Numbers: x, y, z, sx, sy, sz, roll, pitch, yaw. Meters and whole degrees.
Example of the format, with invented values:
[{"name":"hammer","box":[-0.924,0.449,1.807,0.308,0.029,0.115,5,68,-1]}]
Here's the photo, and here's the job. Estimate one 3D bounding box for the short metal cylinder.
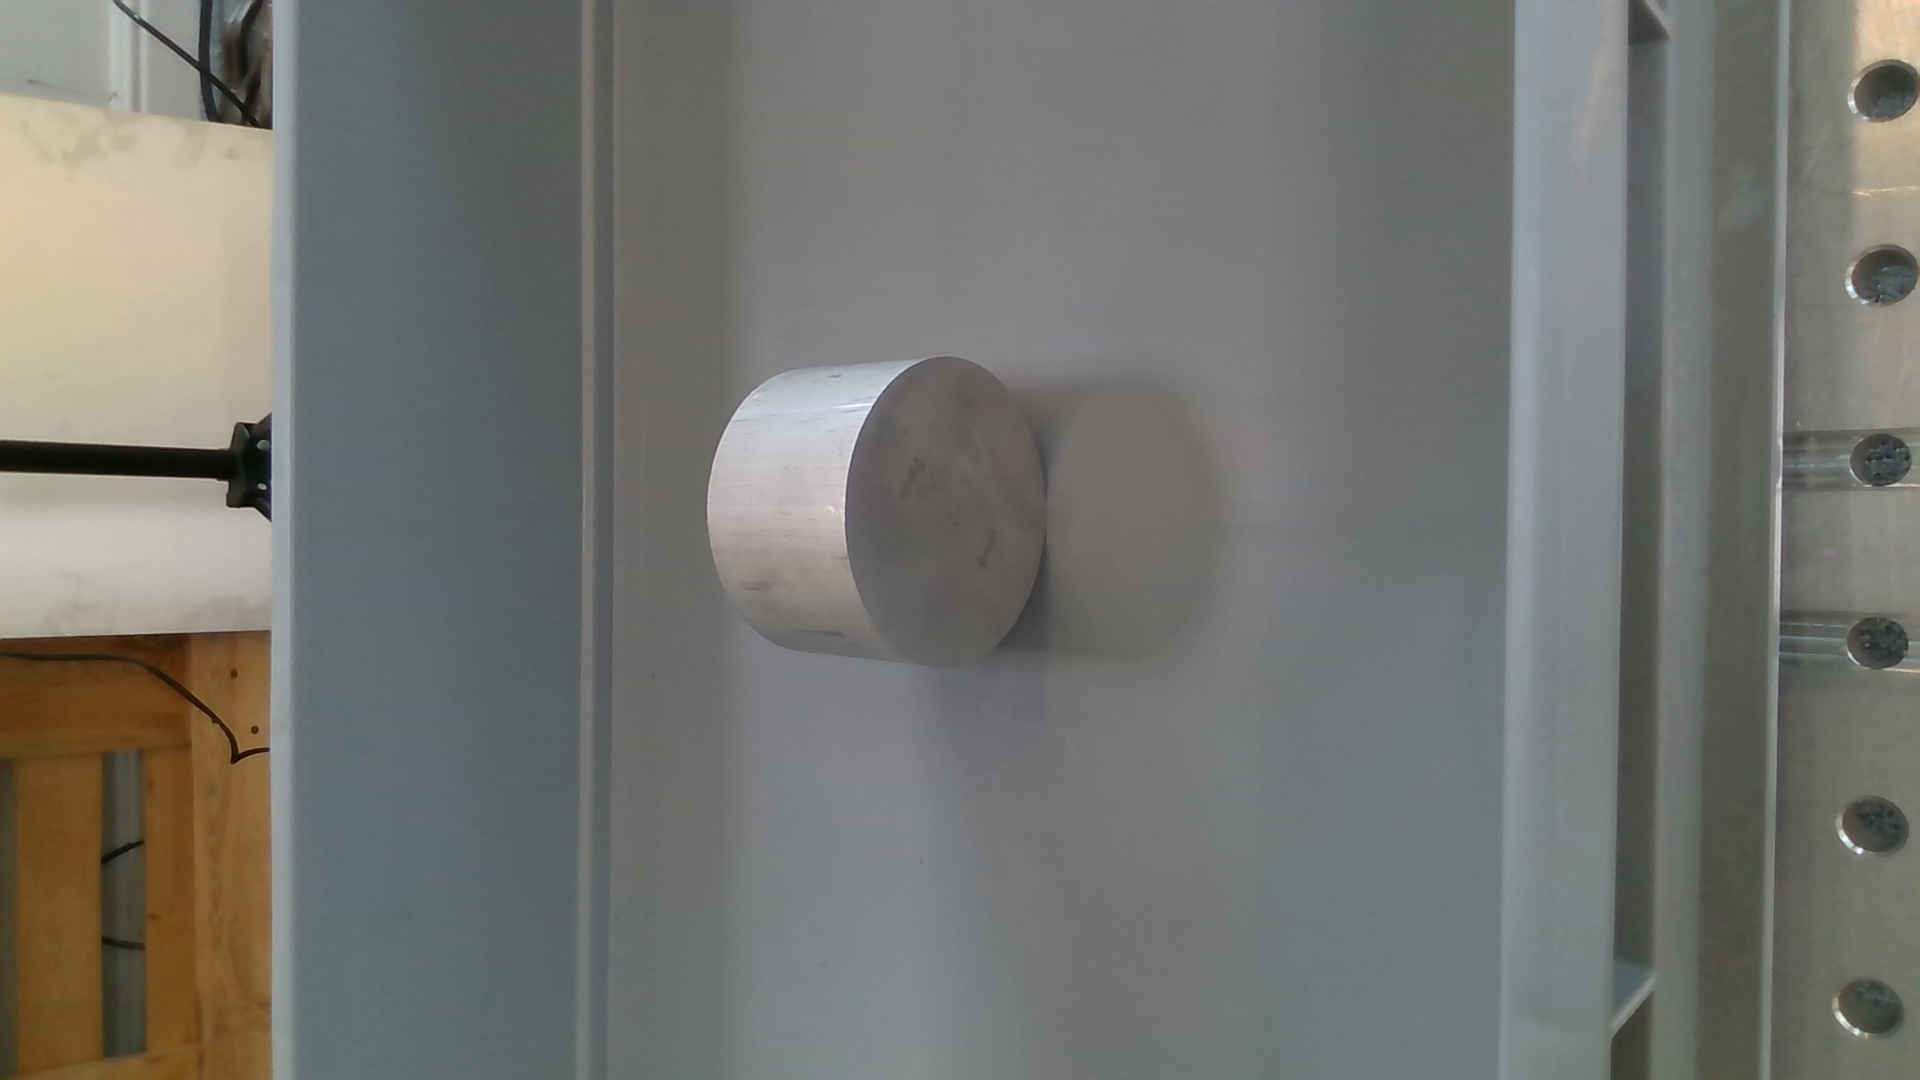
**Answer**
[{"name":"short metal cylinder","box":[-0.021,-0.008,0.369,0.050,0.080,0.080,2,92,40]}]
